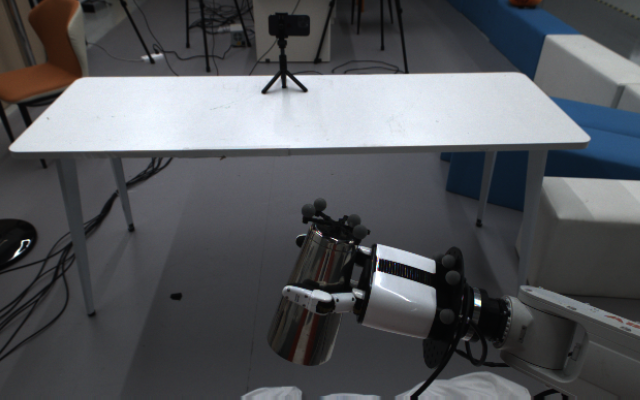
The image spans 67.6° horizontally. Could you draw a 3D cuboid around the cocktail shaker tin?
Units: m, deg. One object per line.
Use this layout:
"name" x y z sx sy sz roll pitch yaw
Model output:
"cocktail shaker tin" -0.004 0.116 0.632 0.093 0.170 0.093 15 17 -5
